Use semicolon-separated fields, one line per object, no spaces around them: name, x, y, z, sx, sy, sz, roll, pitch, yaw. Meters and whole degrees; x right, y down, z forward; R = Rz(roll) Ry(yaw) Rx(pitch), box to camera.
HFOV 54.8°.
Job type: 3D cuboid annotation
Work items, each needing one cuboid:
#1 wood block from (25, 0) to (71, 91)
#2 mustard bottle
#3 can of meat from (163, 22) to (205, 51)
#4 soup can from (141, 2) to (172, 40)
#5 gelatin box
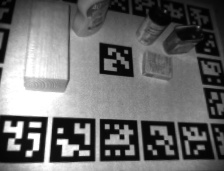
wood block;-0.150;-0.102;0.534;0.092;0.089;0.205;6;64;-17
mustard bottle;-0.045;-0.208;0.558;0.097;0.191;0.058;-21;76;-24
can of meat;0.224;-0.153;0.679;0.103;0.083;0.057;-9;73;-23
soup can;0.134;-0.188;0.643;0.068;0.101;0.067;6;69;-14
gelatin box;0.145;-0.064;0.644;0.090;0.030;0.073;14;68;-10
